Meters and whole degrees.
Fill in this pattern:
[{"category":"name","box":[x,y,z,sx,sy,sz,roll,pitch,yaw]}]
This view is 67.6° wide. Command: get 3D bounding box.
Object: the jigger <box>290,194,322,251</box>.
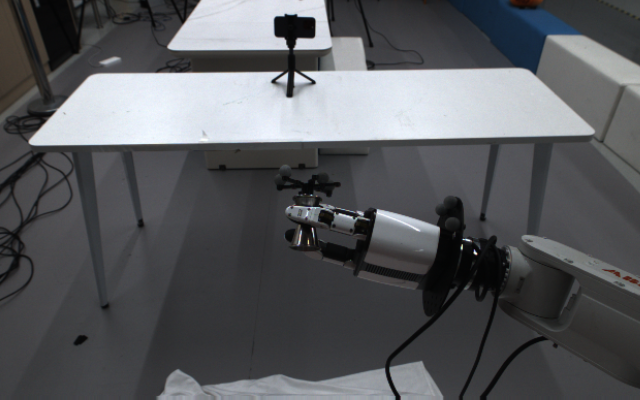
[{"category":"jigger","box":[-0.019,0.029,0.632,0.043,0.043,0.071,3,76,1]}]
